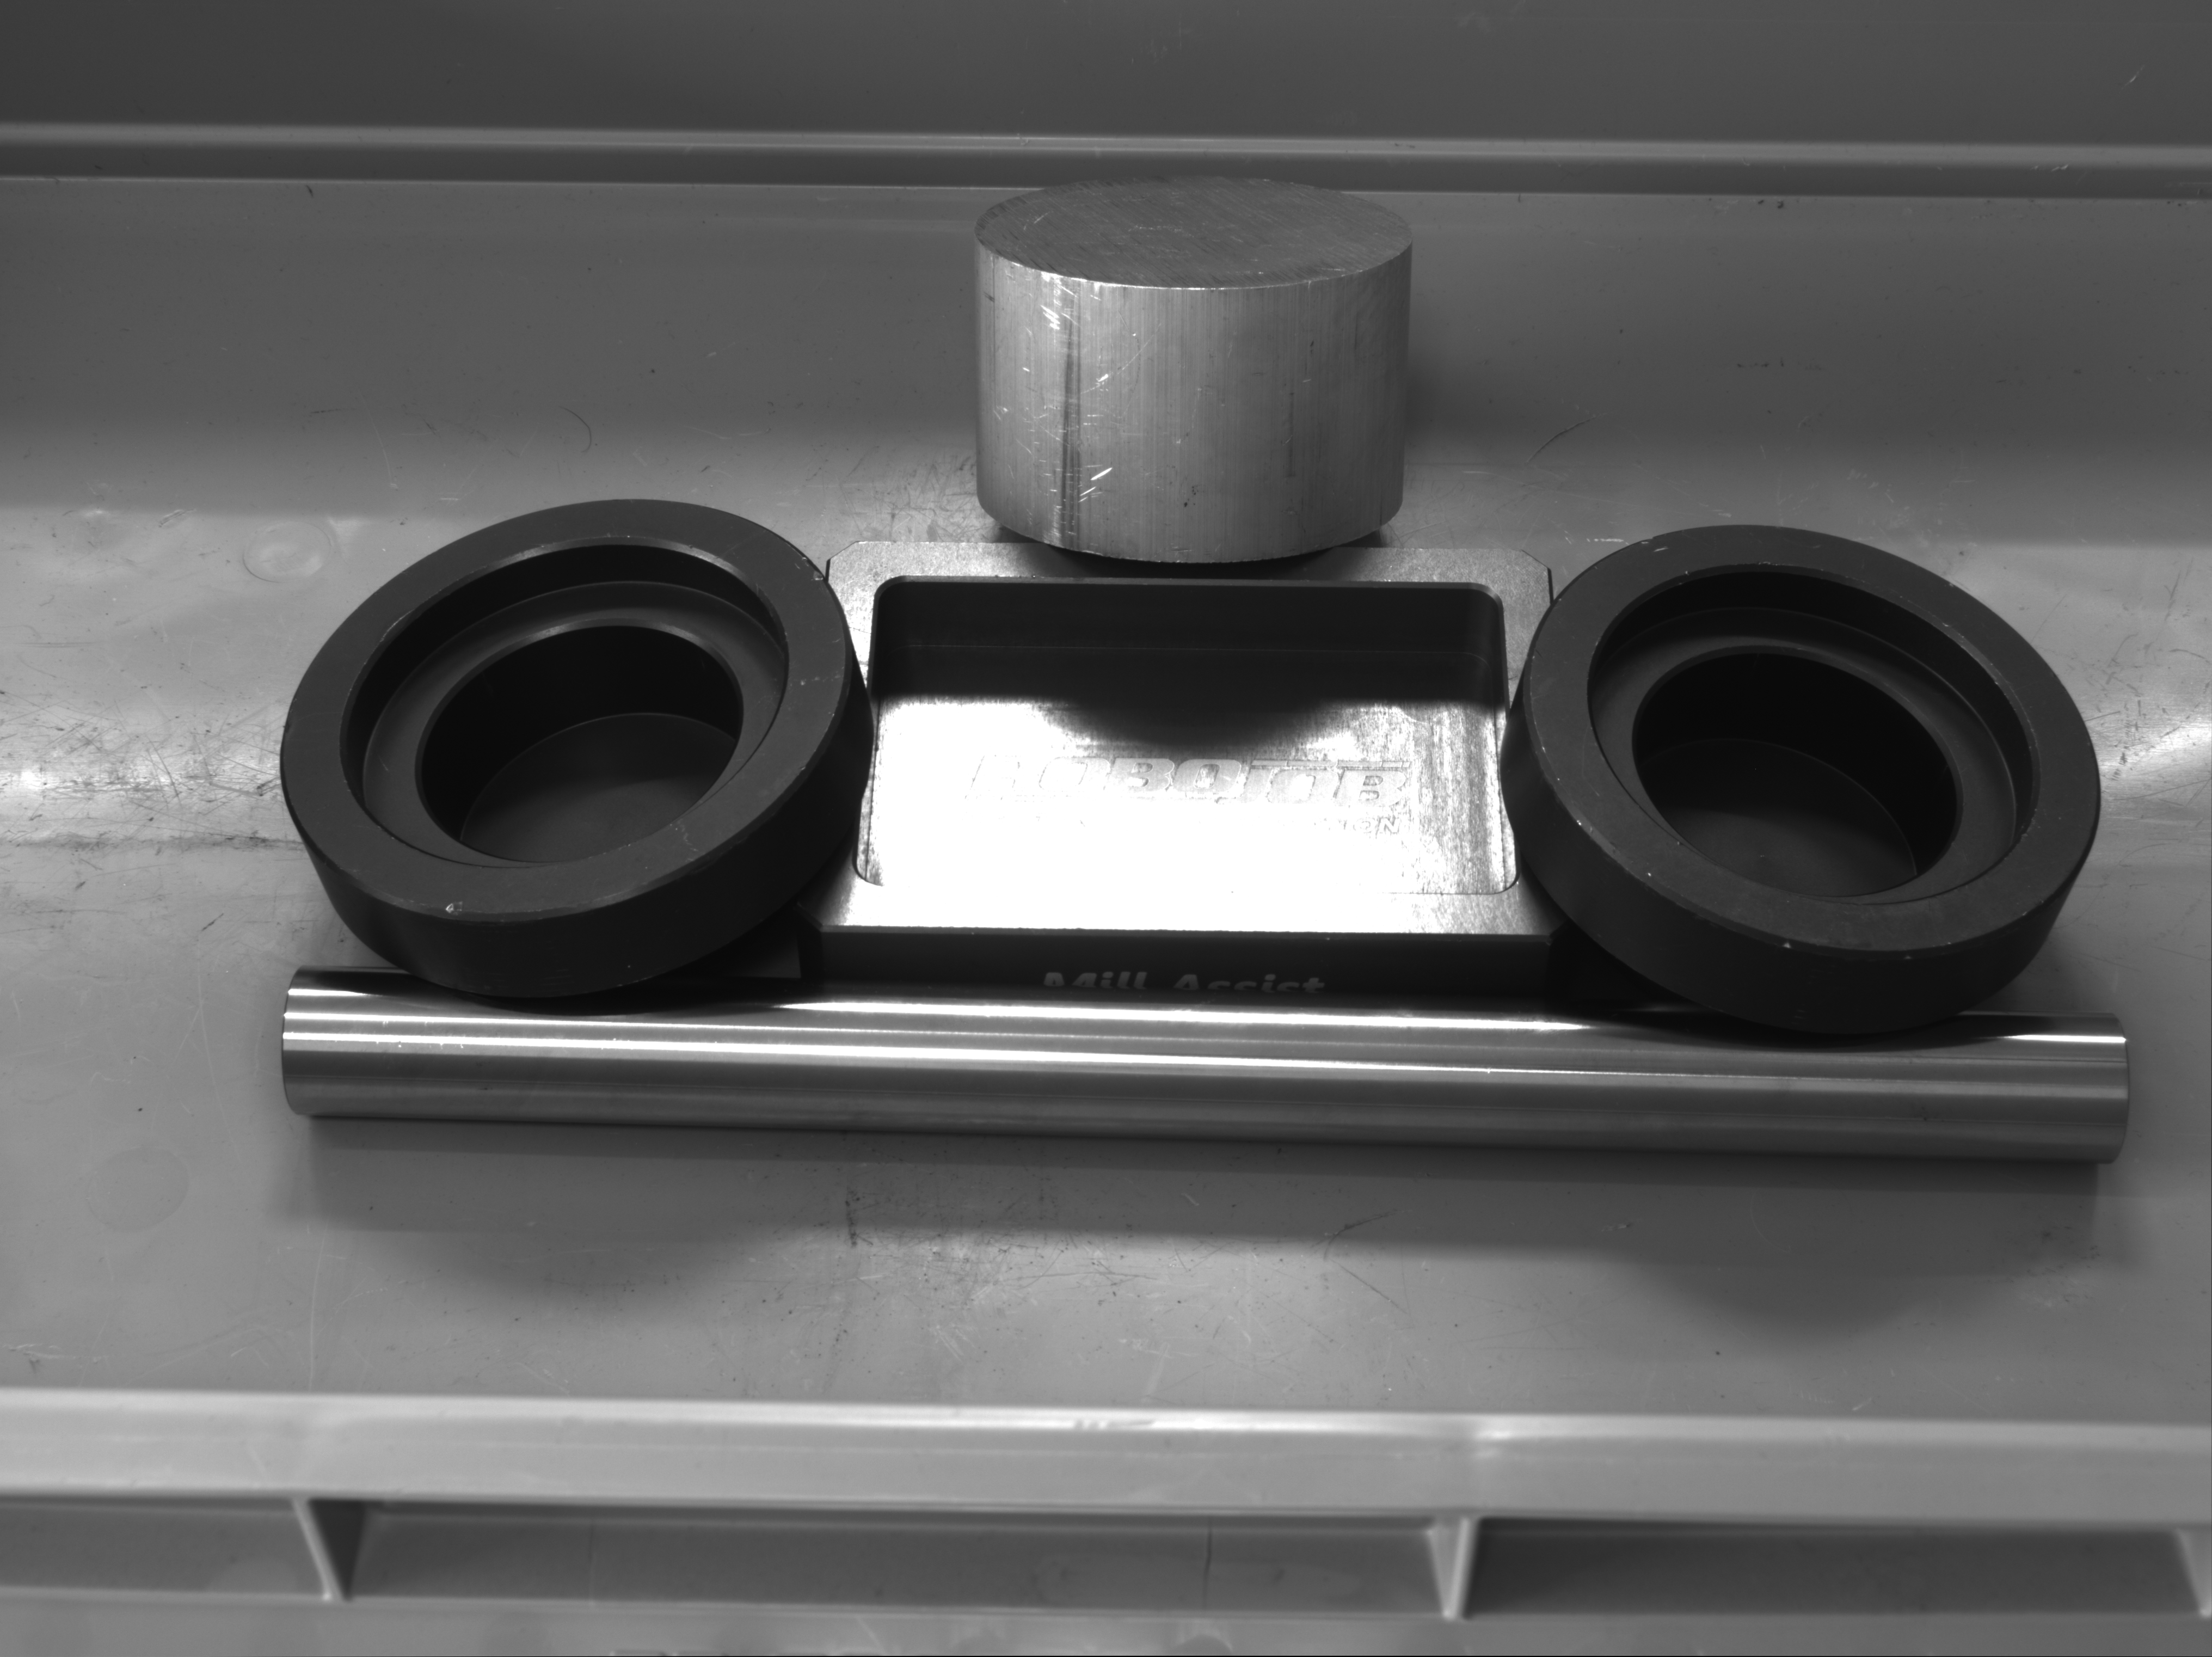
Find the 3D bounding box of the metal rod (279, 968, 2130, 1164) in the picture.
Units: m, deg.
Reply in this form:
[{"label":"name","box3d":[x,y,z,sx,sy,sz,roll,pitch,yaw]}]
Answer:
[{"label":"metal rod","box3d":[0.016,0.039,0.608,0.300,0.025,0.025,1,50,1]}]

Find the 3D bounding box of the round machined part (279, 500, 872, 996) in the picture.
[{"label":"round machined part","box3d":[-0.088,-0.008,0.631,0.098,0.042,0.098,-6,47,6]}]

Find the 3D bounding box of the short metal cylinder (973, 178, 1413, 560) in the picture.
[{"label":"short metal cylinder","box3d":[0.016,-0.086,0.678,0.080,0.050,0.080,0,23,0]}]

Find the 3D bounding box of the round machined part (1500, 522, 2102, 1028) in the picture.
[{"label":"round machined part","box3d":[0.115,-0.004,0.626,0.098,0.042,0.098,5,48,-5]}]

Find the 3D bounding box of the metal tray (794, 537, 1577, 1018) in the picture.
[{"label":"metal tray","box3d":[0.014,-0.008,0.643,0.130,0.030,0.090,1,50,0]}]
